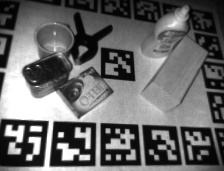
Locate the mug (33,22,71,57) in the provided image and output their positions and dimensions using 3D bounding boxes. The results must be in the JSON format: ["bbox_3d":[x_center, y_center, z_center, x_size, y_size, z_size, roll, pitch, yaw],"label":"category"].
[{"bbox_3d":[-0.154,-0.114,0.578,0.093,0.081,0.117,25,66,-5],"label":"mug"}]

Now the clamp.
[{"bbox_3d":[-0.076,-0.143,0.618,0.122,0.036,0.165,23,66,-8],"label":"clamp"}]

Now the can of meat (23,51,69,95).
[{"bbox_3d":[-0.157,-0.026,0.510,0.102,0.083,0.057,-26,78,-23],"label":"can of meat"}]

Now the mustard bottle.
[{"bbox_3d":[0.151,-0.159,0.599,0.097,0.191,0.058,-1,69,-15],"label":"mustard bottle"}]

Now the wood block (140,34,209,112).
[{"bbox_3d":[0.180,-0.039,0.621,0.090,0.091,0.207,38,62,4],"label":"wood block"}]

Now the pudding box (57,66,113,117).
[{"bbox_3d":[-0.068,0.012,0.552,0.114,0.038,0.090,-36,82,-27],"label":"pudding box"}]
